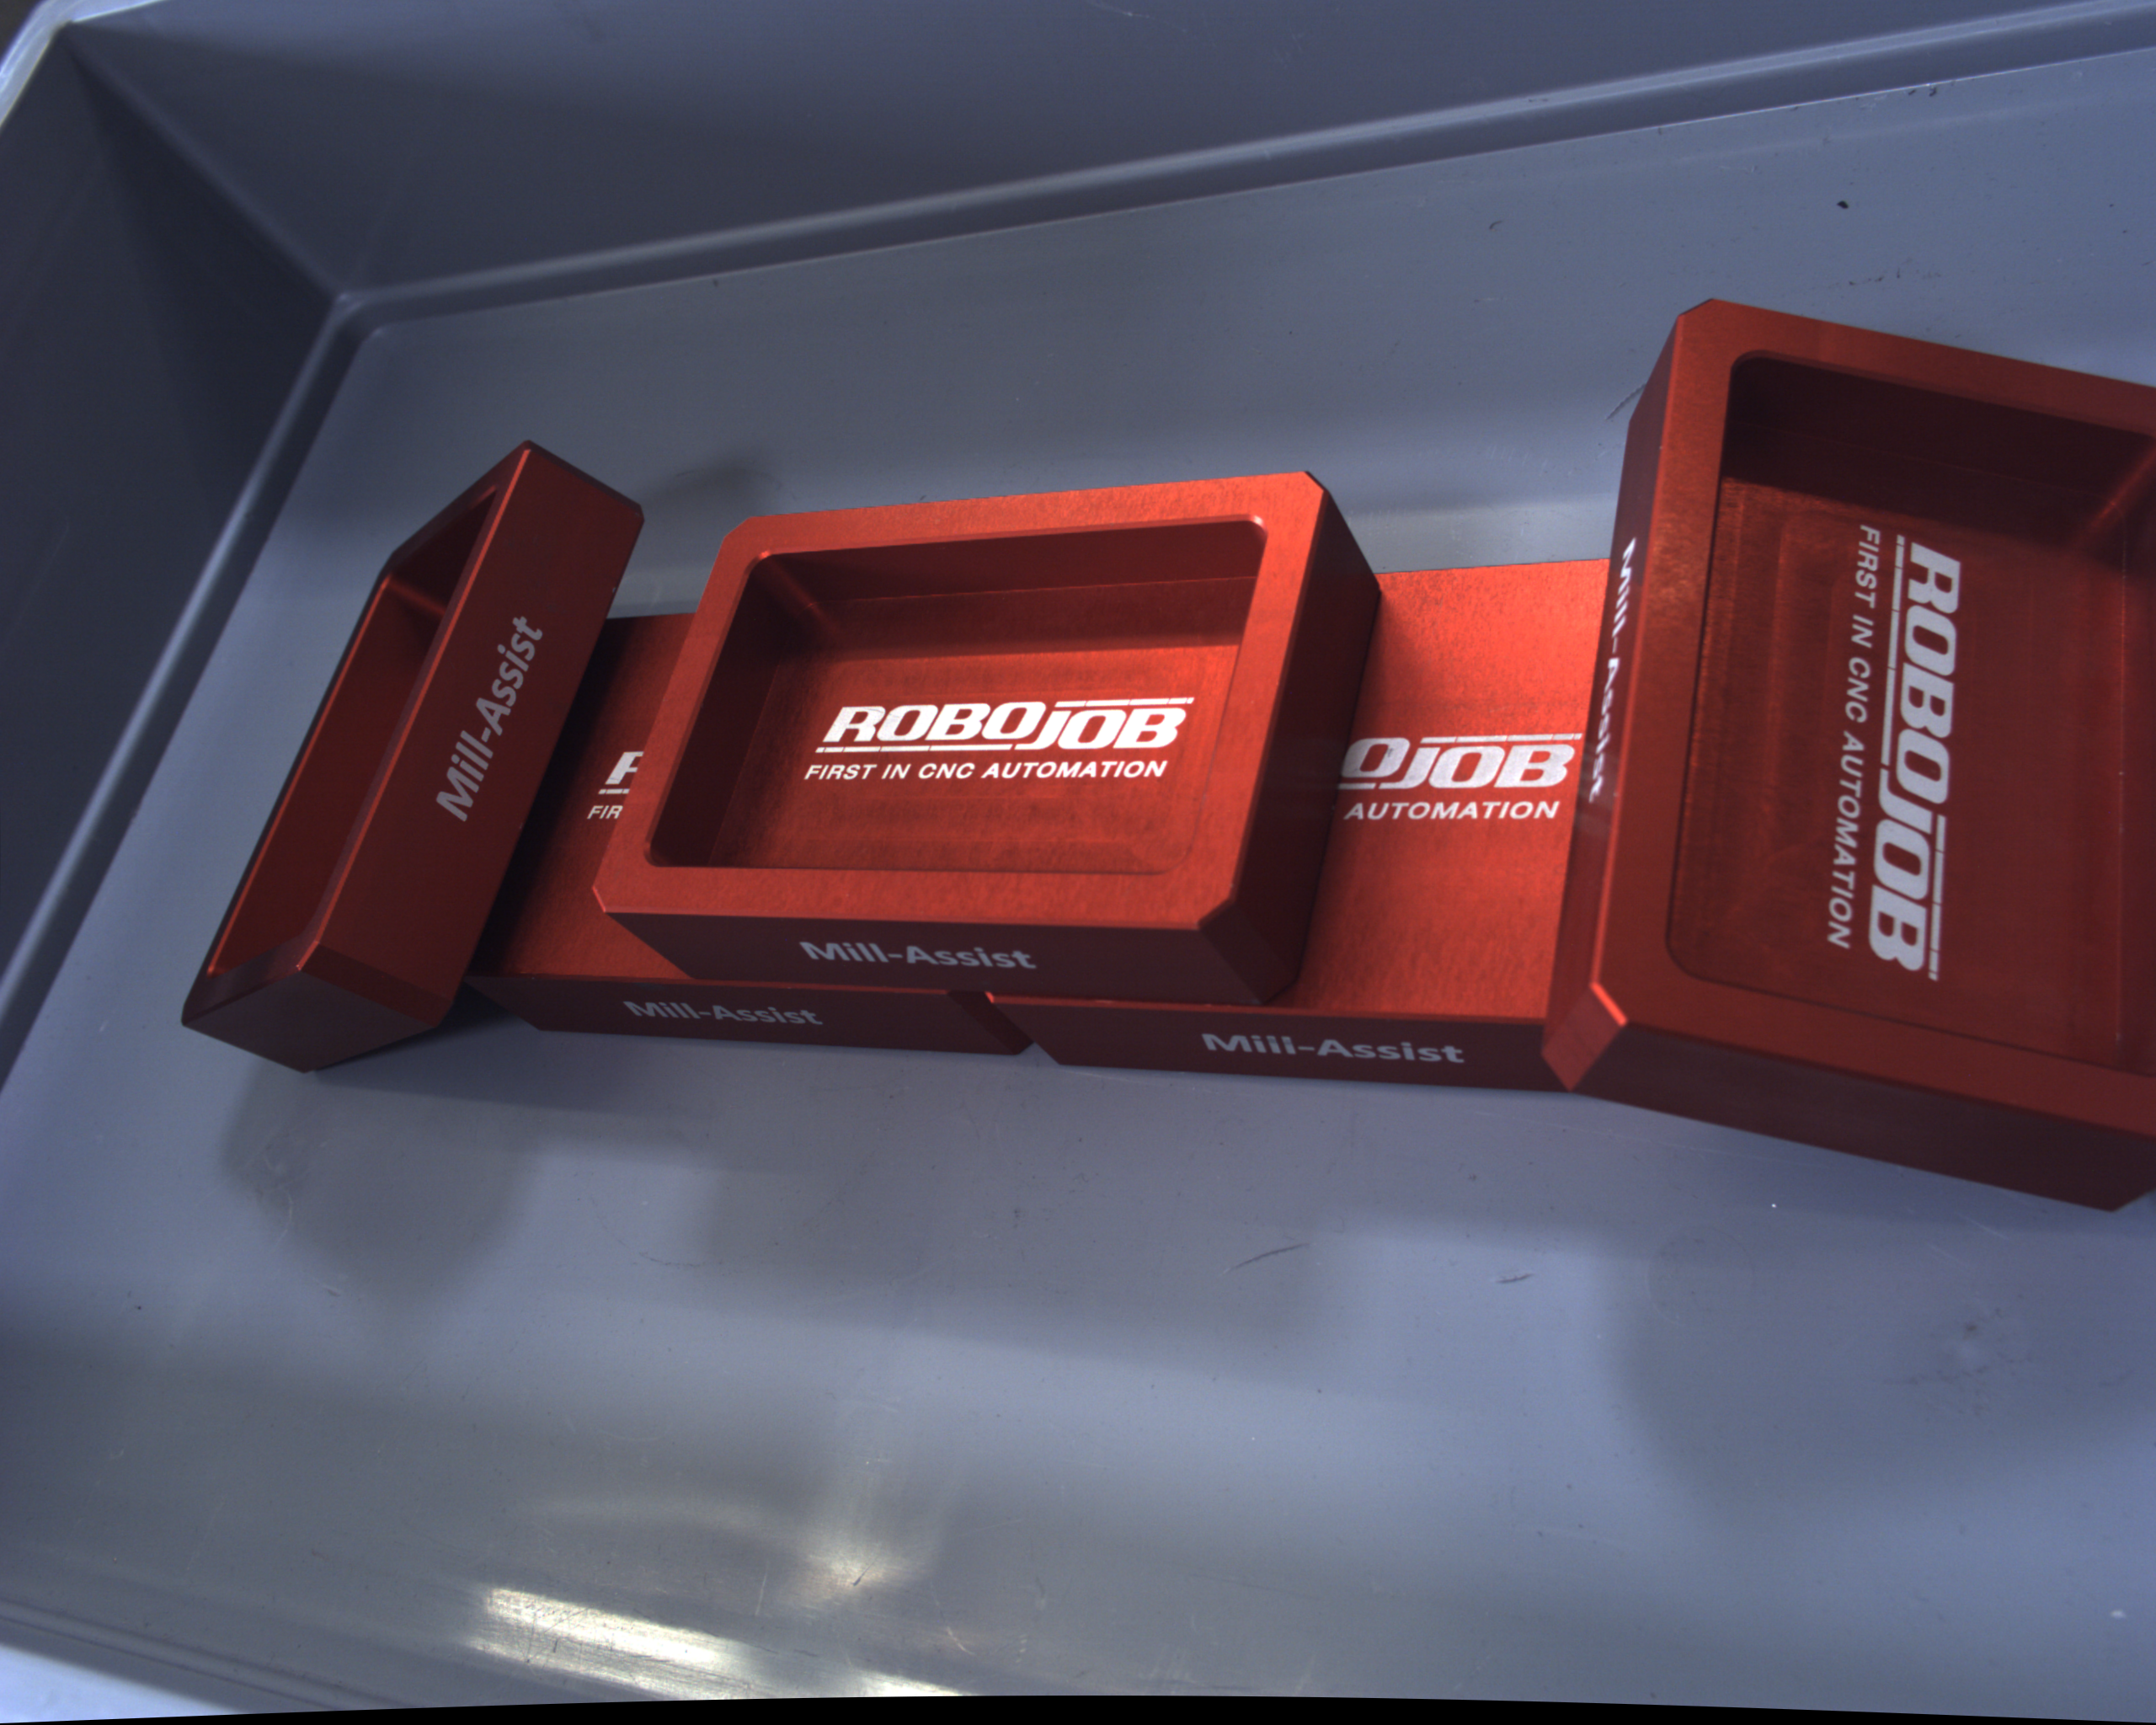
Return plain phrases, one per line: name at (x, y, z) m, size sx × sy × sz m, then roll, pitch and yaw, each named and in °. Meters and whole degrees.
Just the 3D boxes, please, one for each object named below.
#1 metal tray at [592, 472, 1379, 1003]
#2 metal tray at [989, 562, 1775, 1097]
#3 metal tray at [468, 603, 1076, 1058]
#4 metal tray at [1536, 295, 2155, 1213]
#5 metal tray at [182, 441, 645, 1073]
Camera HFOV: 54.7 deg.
metal tray at (-0.018, -0.023, 0.385) m, size 0.130 × 0.030 × 0.090 m, roll 1°, pitch 61°, yaw 28°
metal tray at (0.054, -0.007, 0.378) m, size 0.130 × 0.030 × 0.090 m, roll 0°, pitch 62°, yaw 28°
metal tray at (-0.061, -0.009, 0.439) m, size 0.130 × 0.030 × 0.090 m, roll 0°, pitch 62°, yaw 28°
metal tray at (0.127, -0.020, 0.322) m, size 0.090 × 0.030 × 0.130 m, roll 13°, pitch 65°, yaw 3°
metal tray at (-0.150, -0.022, 0.470) m, size 0.090 × 0.030 × 0.130 m, roll -17°, pitch 50°, yaw 50°
